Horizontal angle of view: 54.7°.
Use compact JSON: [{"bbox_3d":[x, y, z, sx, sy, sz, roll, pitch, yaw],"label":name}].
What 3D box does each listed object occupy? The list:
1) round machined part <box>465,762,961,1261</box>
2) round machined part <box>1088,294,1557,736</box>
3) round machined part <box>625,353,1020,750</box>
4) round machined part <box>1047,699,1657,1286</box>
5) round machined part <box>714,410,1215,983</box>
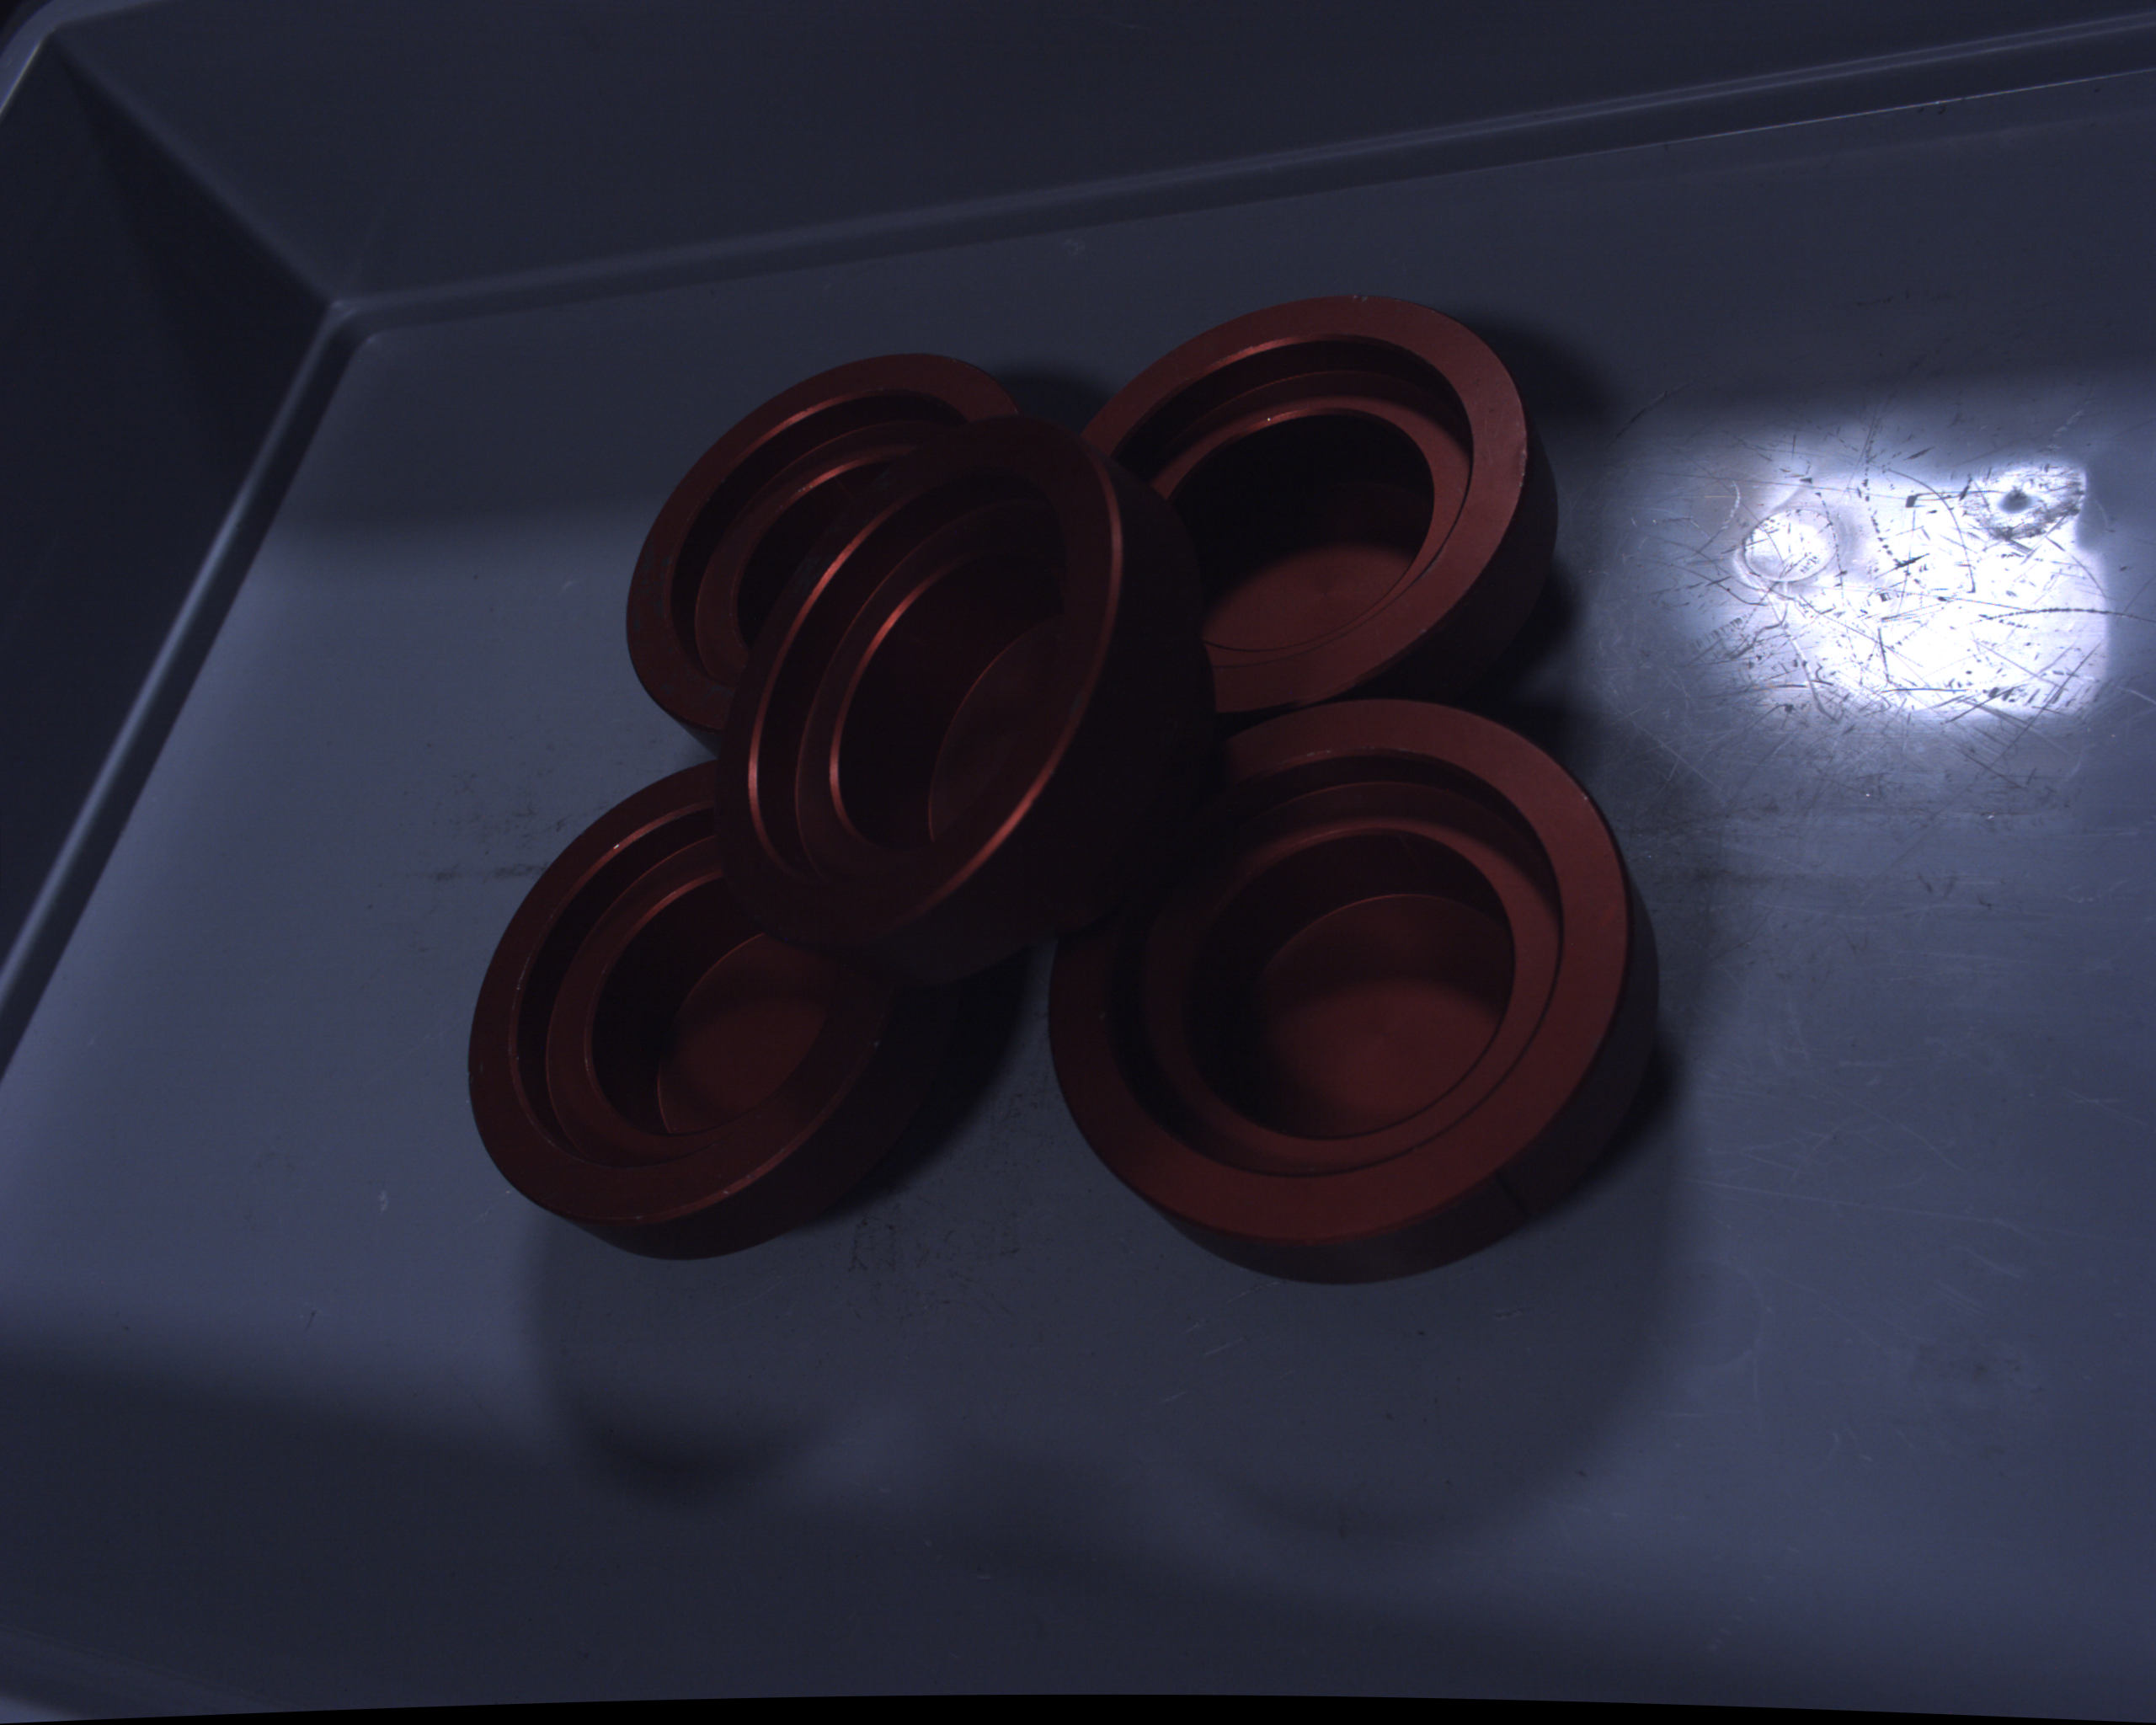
[{"bbox_3d":[-0.066,0.031,0.407,0.098,0.042,0.098,-13,56,20],"label":"round machined part"},{"bbox_3d":[0.044,-0.059,0.405,0.098,0.042,0.098,-13,56,20],"label":"round machined part"},{"bbox_3d":[-0.045,-0.059,0.450,0.098,0.042,0.098,-13,56,20],"label":"round machined part"},{"bbox_3d":[0.048,0.024,0.352,0.098,0.042,0.098,-13,56,20],"label":"round machined part"},{"bbox_3d":[-0.016,-0.025,0.360,0.098,0.042,0.098,-25,51,36],"label":"round machined part"}]
